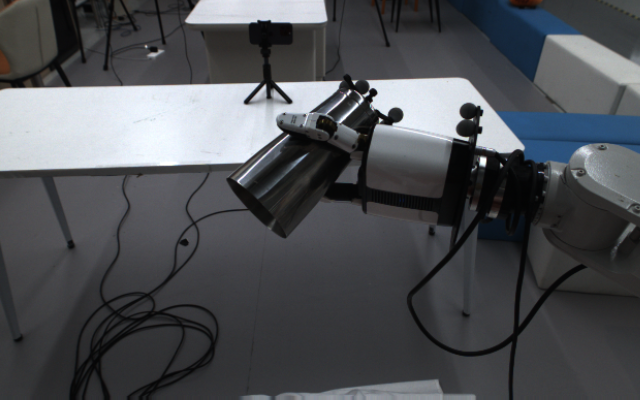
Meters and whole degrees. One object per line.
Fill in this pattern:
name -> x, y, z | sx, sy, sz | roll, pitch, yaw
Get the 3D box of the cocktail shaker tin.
cocktail shaker tin -> -0.011, -0.053, 0.549 | 0.170, 0.093, 0.093 | -43, 50, -15
